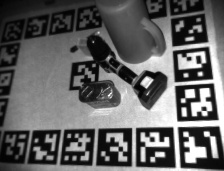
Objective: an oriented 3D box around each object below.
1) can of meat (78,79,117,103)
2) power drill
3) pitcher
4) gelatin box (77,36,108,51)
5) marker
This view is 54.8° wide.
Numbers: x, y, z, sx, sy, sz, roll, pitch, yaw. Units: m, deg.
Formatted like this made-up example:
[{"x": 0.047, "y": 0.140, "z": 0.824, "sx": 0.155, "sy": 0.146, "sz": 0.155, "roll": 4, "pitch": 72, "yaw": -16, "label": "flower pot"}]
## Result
[{"x": -0.042, "y": 0.013, "z": 0.631, "sx": 0.101, "sy": 0.084, "sz": 0.057, "roll": -7, "pitch": 69, "yaw": 15, "label": "can of meat"}, {"x": 0.009, "y": -0.069, "z": 0.591, "sx": 0.185, "sy": 0.186, "sz": 0.057, "roll": 31, "pitch": 87, "yaw": 18, "label": "power drill"}, {"x": 0.048, "y": -0.178, "z": 0.590, "sx": 0.186, "sy": 0.246, "sz": 0.133, "roll": 28, "pitch": 86, "yaw": 31, "label": "pitcher"}, {"x": -0.066, "y": -0.136, "z": 0.698, "sx": 0.088, "sy": 0.074, "sz": 0.030, "roll": 5, "pitch": 78, "yaw": 18, "label": "gelatin box"}, {"x": -0.110, "y": -0.175, "z": 0.750, "sx": 0.121, "sy": 0.020, "sz": 0.019, "roll": -32, "pitch": 66, "yaw": 6, "label": "marker"}]
